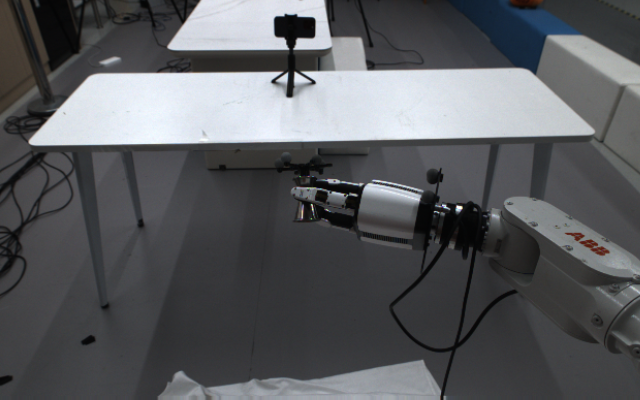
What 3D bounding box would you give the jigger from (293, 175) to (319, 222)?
[{"bbox_3d":[-0.023,-0.002,0.751,0.043,0.071,0.043,-2,-7,0],"label":"jigger"}]
